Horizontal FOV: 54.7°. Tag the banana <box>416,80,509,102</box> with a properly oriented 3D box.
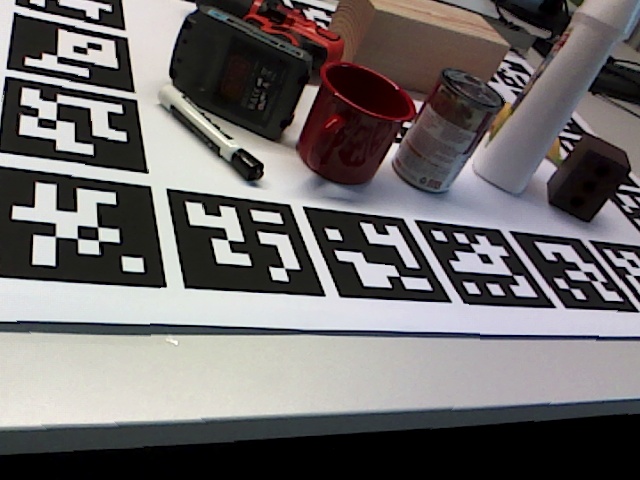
[{"bbox_3d":[0.208,-0.168,0.785,0.196,0.039,0.074,16,52,-18],"label":"banana"}]

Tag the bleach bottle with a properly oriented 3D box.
[{"bbox_3d":[0.248,-0.171,0.640,0.068,0.251,0.103,22,36,-5],"label":"bleach bottle"}]

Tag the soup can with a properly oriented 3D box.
[{"bbox_3d":[0.124,-0.107,0.601,0.068,0.102,0.068,18,33,-13],"label":"soup can"}]

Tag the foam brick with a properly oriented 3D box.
[{"bbox_3d":[0.299,-0.072,0.699,0.053,0.078,0.051,24,35,-1],"label":"foam brick"}]

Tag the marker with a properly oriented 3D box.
[{"bbox_3d":[-0.088,-0.078,0.520,0.121,0.019,0.019,42,42,18],"label":"marker"}]

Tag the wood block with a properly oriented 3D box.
[{"bbox_3d":[0.117,-0.250,0.791,0.205,0.091,0.090,2,44,-29],"label":"wood block"}]

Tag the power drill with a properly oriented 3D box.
[{"bbox_3d":[-0.069,-0.190,0.640,0.184,0.057,0.187,25,35,-8],"label":"power drill"}]

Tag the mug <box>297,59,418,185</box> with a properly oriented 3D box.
[{"bbox_3d":[0.025,-0.098,0.556,0.093,0.081,0.117,33,40,4],"label":"mug"}]
